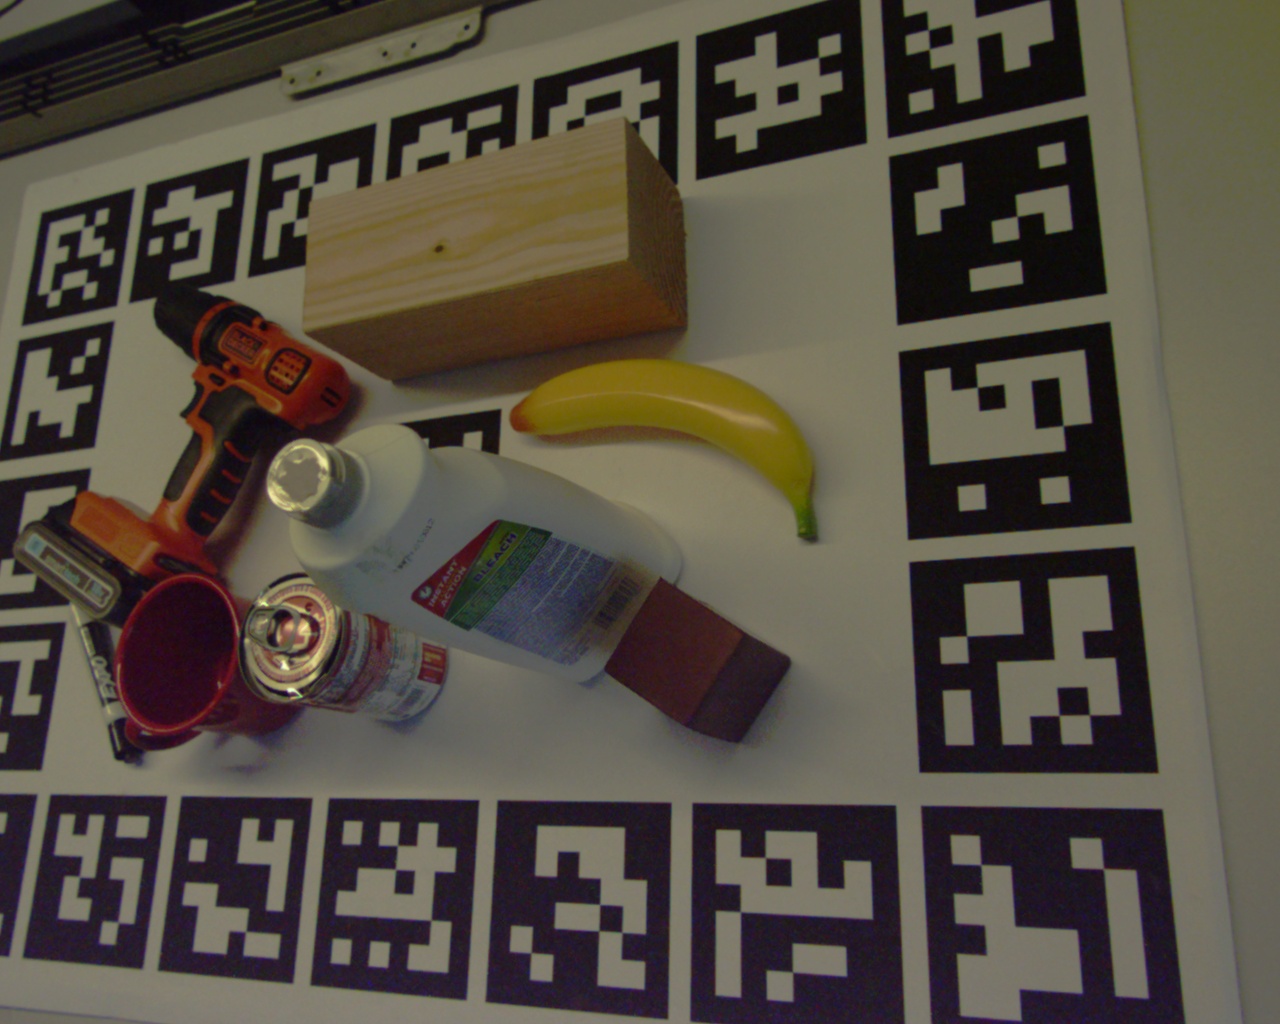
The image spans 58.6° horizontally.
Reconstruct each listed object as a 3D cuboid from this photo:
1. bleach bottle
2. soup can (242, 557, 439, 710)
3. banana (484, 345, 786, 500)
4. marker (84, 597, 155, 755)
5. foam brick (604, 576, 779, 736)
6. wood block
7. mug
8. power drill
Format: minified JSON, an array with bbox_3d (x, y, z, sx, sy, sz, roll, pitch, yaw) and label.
[{"bbox_3d":[-0.077,0.015,0.555,0.069,0.248,0.102,27,85,28],"label":"bleach bottle"},{"bbox_3d":[-0.168,0.073,0.655,0.068,0.101,0.068,-8,68,19],"label":"soup can"},{"bbox_3d":[-0.004,-0.060,0.661,0.199,0.038,0.074,12,93,24],"label":"banana"},{"bbox_3d":[-0.358,0.112,0.784,0.020,0.019,0.122,-36,64,13],"label":"marker"},{"bbox_3d":[0.028,0.076,0.588,0.053,0.077,0.051,32,87,30],"label":"foam brick"},{"bbox_3d":[-0.085,-0.145,0.699,0.208,0.090,0.090,-6,73,22],"label":"wood block"},{"bbox_3d":[-0.263,0.090,0.709,0.094,0.080,0.117,42,97,26],"label":"mug"},{"bbox_3d":[-0.297,-0.041,0.785,0.186,0.057,0.187,26,85,25],"label":"power drill"}]
